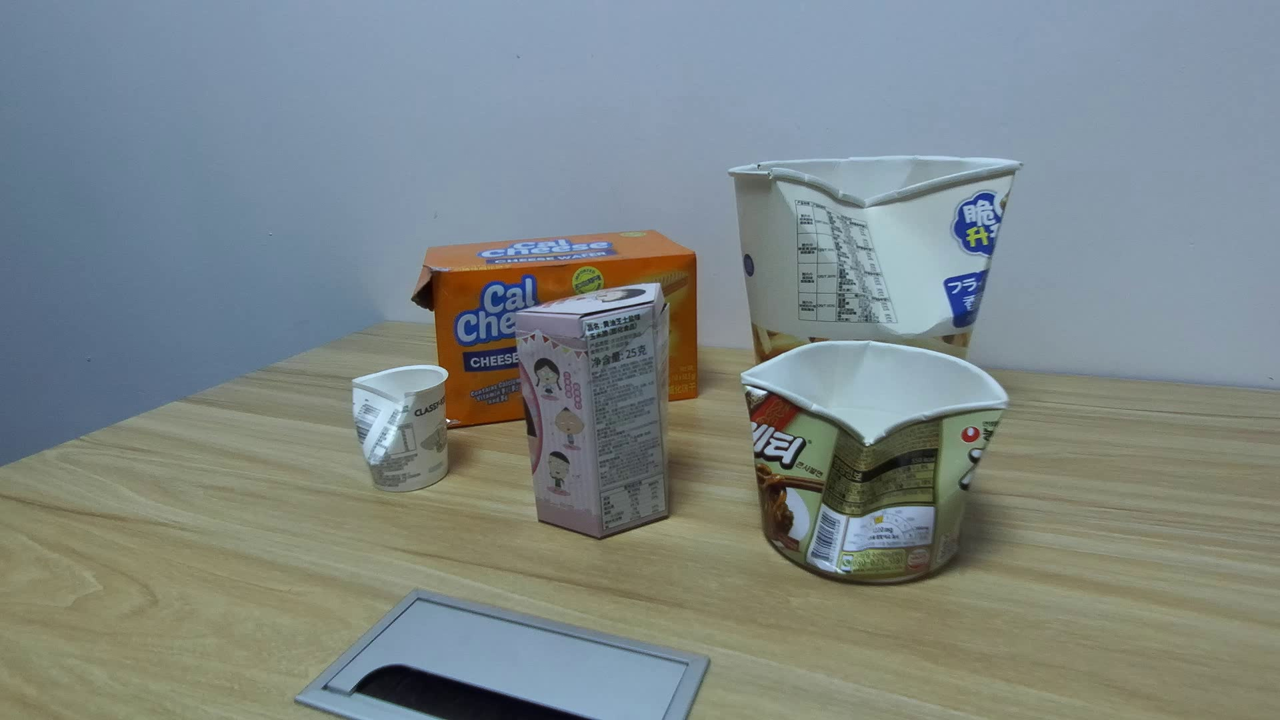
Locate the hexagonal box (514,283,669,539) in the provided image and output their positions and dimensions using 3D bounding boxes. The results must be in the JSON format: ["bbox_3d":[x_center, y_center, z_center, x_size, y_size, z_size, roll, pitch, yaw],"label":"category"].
[{"bbox_3d":[-0.023,0.027,0.428,0.085,0.135,0.092,-1,19,5],"label":"hexagonal box"}]

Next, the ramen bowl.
[{"bbox_3d":[0.131,0.051,0.399,0.137,0.098,0.137,1,19,0],"label":"ramen bowl"}]

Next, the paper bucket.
[{"bbox_3d":[0.158,-0.048,0.535,0.163,0.202,0.168,-15,20,-32],"label":"paper bucket"}]

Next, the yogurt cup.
[{"bbox_3d":[-0.161,0.046,0.489,0.067,0.070,0.067,-3,19,1],"label":"yogurt cup"}]

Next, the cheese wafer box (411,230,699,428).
[{"bbox_3d":[-0.073,-0.039,0.634,0.227,0.137,0.149,-6,19,-11],"label":"cheese wafer box"}]
